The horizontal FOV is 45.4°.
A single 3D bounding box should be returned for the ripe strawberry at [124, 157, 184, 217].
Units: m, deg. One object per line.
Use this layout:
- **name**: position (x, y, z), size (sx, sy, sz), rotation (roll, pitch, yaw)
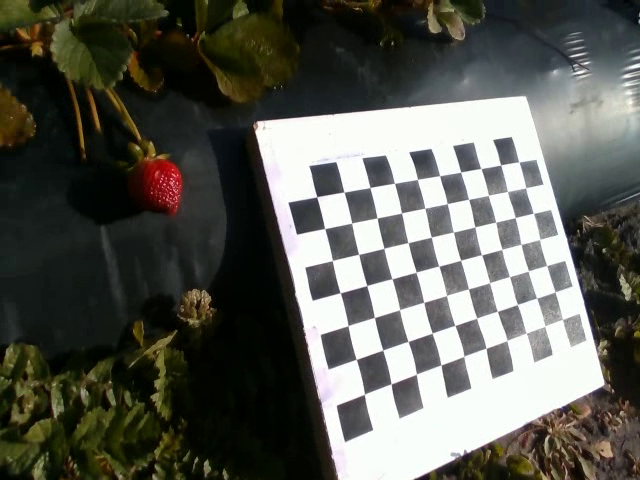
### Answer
- **ripe strawberry**: position (-0.096, -0.029, 0.467), size (0.040, 0.044, 0.036), rotation (-35, -4, -32)
